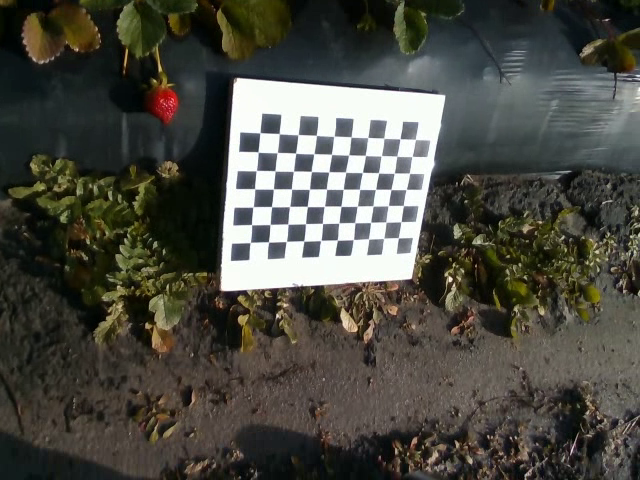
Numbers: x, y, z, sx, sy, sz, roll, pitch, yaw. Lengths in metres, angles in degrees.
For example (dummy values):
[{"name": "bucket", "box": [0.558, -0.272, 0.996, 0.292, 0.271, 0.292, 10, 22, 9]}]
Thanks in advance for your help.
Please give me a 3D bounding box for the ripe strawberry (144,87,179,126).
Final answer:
[{"name": "ripe strawberry", "box": [-0.172, -0.144, 0.504, 0.040, 0.044, 0.036, -20, 13, -12]}]
